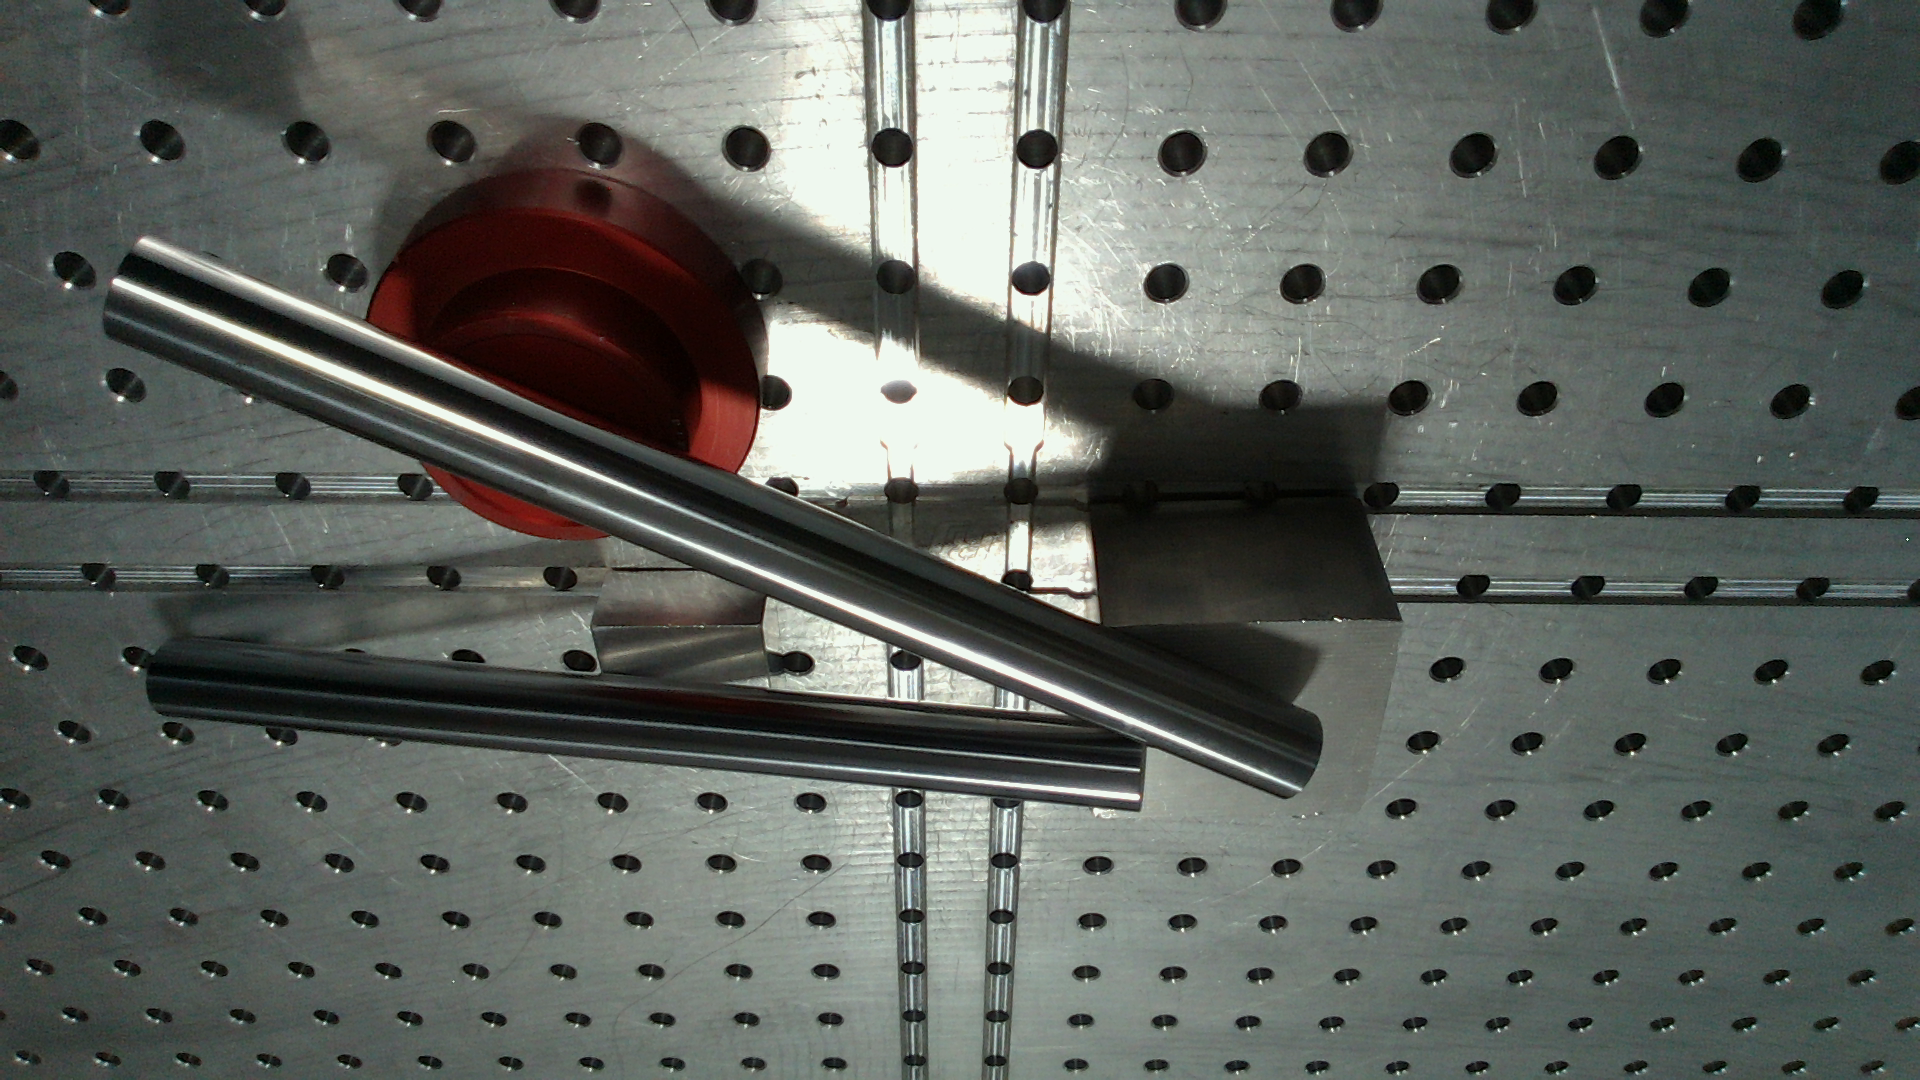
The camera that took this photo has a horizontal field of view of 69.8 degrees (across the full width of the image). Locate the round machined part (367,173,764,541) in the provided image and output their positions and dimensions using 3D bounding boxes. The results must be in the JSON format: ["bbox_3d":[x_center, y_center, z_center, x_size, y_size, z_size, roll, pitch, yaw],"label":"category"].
[{"bbox_3d":[-0.101,-0.039,0.349,0.098,0.042,0.098,0,130,0],"label":"round machined part"}]

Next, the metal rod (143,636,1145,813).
[{"bbox_3d":[-0.098,0.052,0.401,0.300,0.025,0.025,4,131,10],"label":"metal rod"}]

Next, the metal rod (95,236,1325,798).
[{"bbox_3d":[-0.044,0.002,0.332,0.301,0.025,0.025,22,127,-15],"label":"metal rod"}]

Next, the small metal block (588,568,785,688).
[{"bbox_3d":[-0.083,0.036,0.424,0.050,0.025,0.050,0,130,0],"label":"small metal block"}]

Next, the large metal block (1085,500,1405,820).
[{"bbox_3d":[0.078,0.036,0.405,0.080,0.050,0.080,-2,130,1],"label":"large metal block"}]
